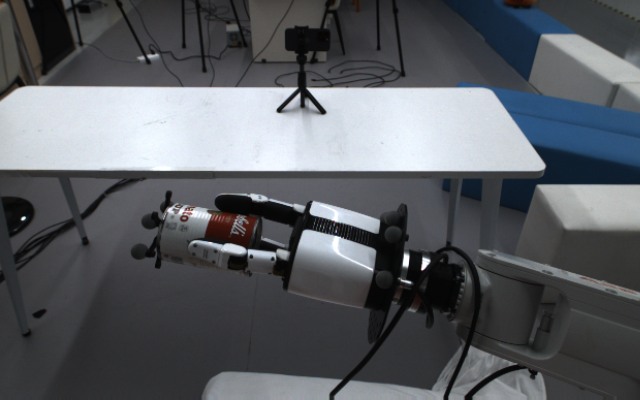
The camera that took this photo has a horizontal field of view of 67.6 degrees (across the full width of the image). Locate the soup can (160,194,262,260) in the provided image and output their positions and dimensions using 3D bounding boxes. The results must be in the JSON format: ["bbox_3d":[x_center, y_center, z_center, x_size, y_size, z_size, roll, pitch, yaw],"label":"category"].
[{"bbox_3d":[-0.119,0.045,0.544,0.101,0.067,0.067,10,35,0],"label":"soup can"}]
